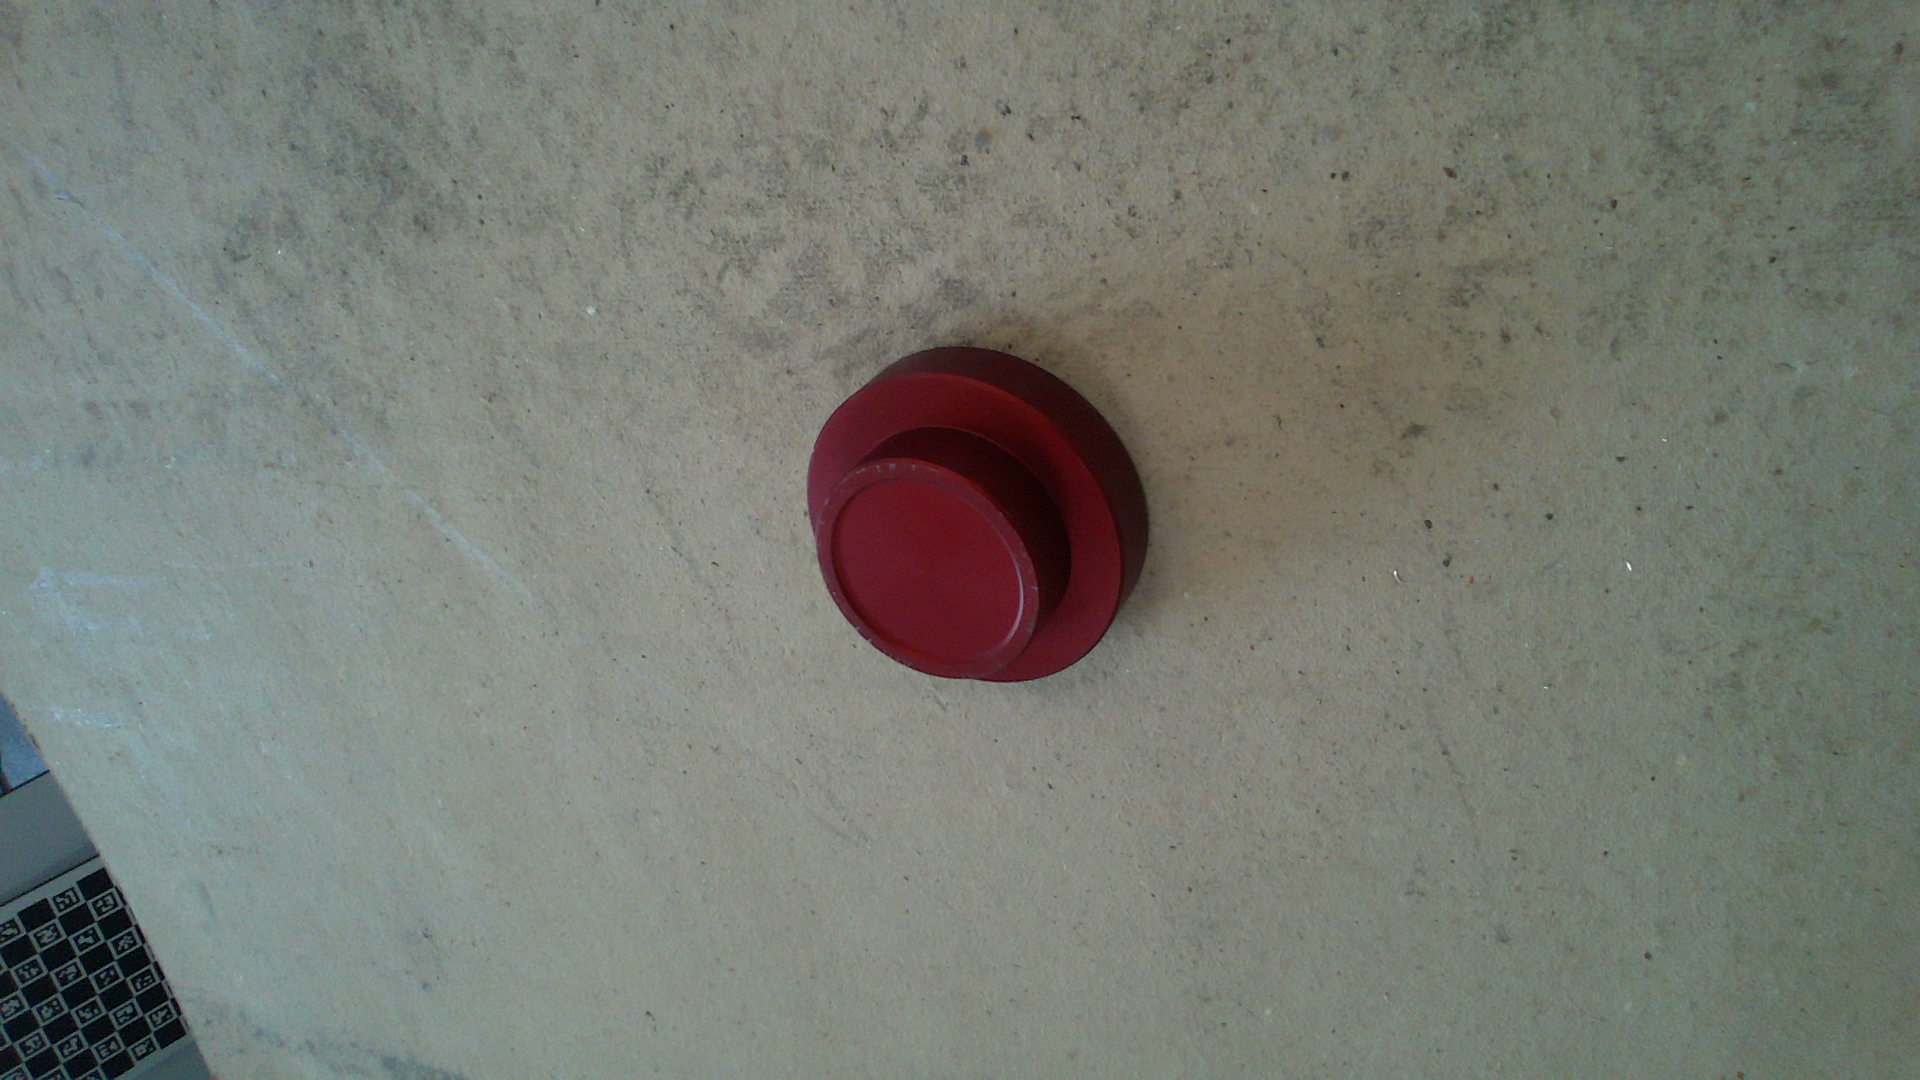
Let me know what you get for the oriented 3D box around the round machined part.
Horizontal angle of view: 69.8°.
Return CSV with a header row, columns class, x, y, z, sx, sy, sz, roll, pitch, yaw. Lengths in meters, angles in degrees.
class,x,y,z,sx,sy,sz,roll,pitch,yaw
round machined part,-0.001,-0.001,0.382,0.098,0.042,0.098,13,124,21
